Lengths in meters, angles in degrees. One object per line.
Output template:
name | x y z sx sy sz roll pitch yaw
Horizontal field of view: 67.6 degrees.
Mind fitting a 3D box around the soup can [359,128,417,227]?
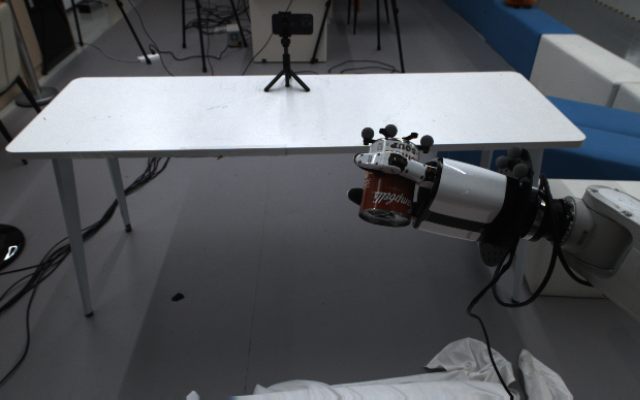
soup can | 0.093 -0.023 0.633 0.067 0.067 0.101 8 72 9
